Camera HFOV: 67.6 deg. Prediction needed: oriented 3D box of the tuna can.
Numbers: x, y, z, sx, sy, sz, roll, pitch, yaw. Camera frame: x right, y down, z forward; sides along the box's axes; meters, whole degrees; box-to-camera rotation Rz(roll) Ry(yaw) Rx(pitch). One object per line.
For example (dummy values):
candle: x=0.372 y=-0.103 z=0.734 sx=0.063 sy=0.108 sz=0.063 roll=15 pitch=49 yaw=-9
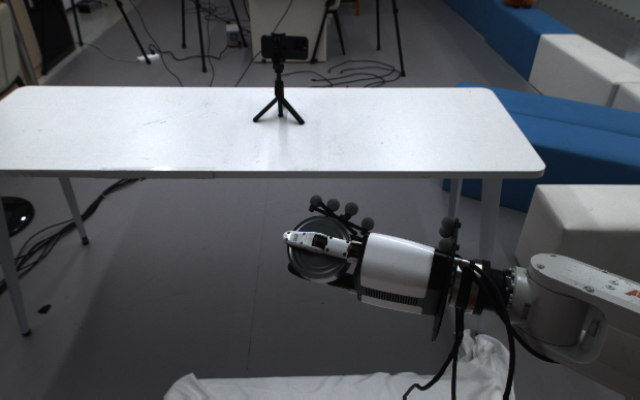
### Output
tuna can: x=0.003 y=0.064 z=0.642 sx=0.085 sy=0.034 sz=0.085 roll=-4 pitch=67 yaw=10
